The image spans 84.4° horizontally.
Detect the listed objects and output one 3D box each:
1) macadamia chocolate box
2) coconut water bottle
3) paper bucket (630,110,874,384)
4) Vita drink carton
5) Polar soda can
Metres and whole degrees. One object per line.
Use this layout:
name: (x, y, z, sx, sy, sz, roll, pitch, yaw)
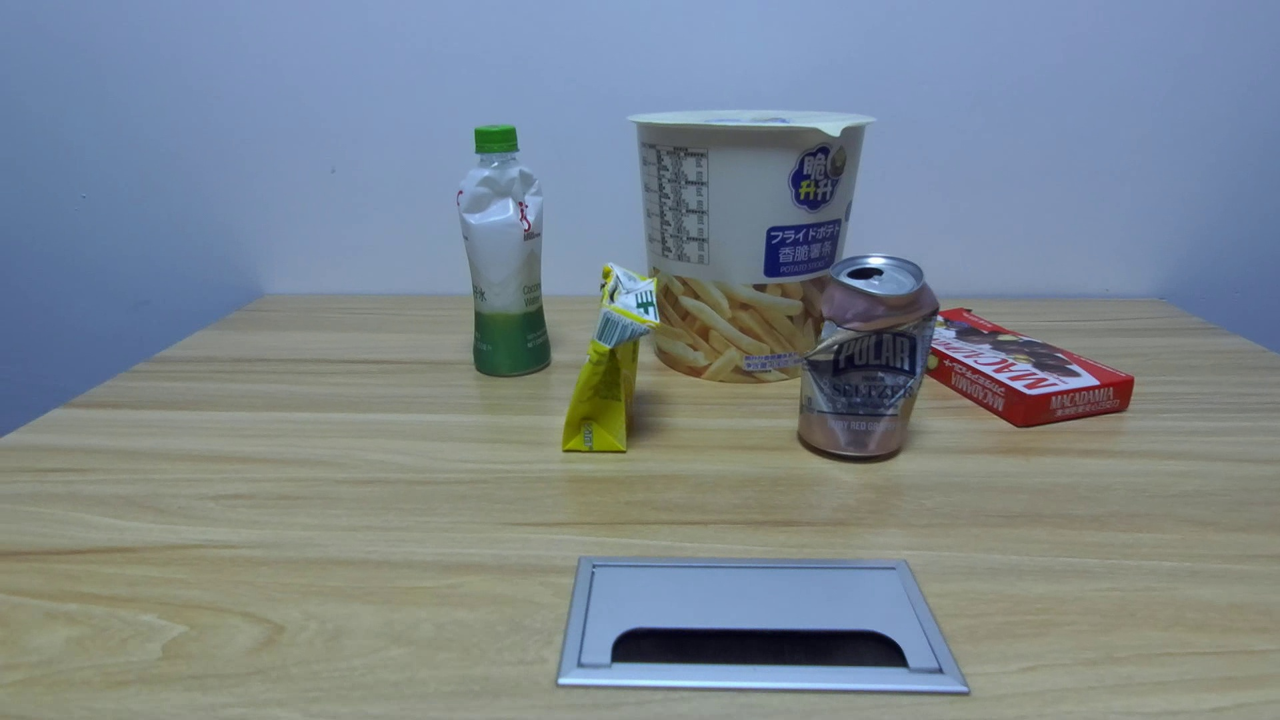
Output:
macadamia chocolate box: (0.280, -0.002, 0.568, 0.106, 0.028, 0.182, -7, 23, -16)
coconut water bottle: (-0.108, -0.083, 0.555, 0.069, 0.186, 0.069, -1, 20, 1)
paper bucket: (0.086, -0.097, 0.578, 0.198, 0.194, 0.198, -1, 22, 1)
Vita drink carton: (-0.016, 0.001, 0.455, 0.042, 0.108, 0.087, 14, 25, -2)
Polar soda can: (0.137, 0.002, 0.436, 0.071, 0.122, 0.066, -20, 34, -40)
